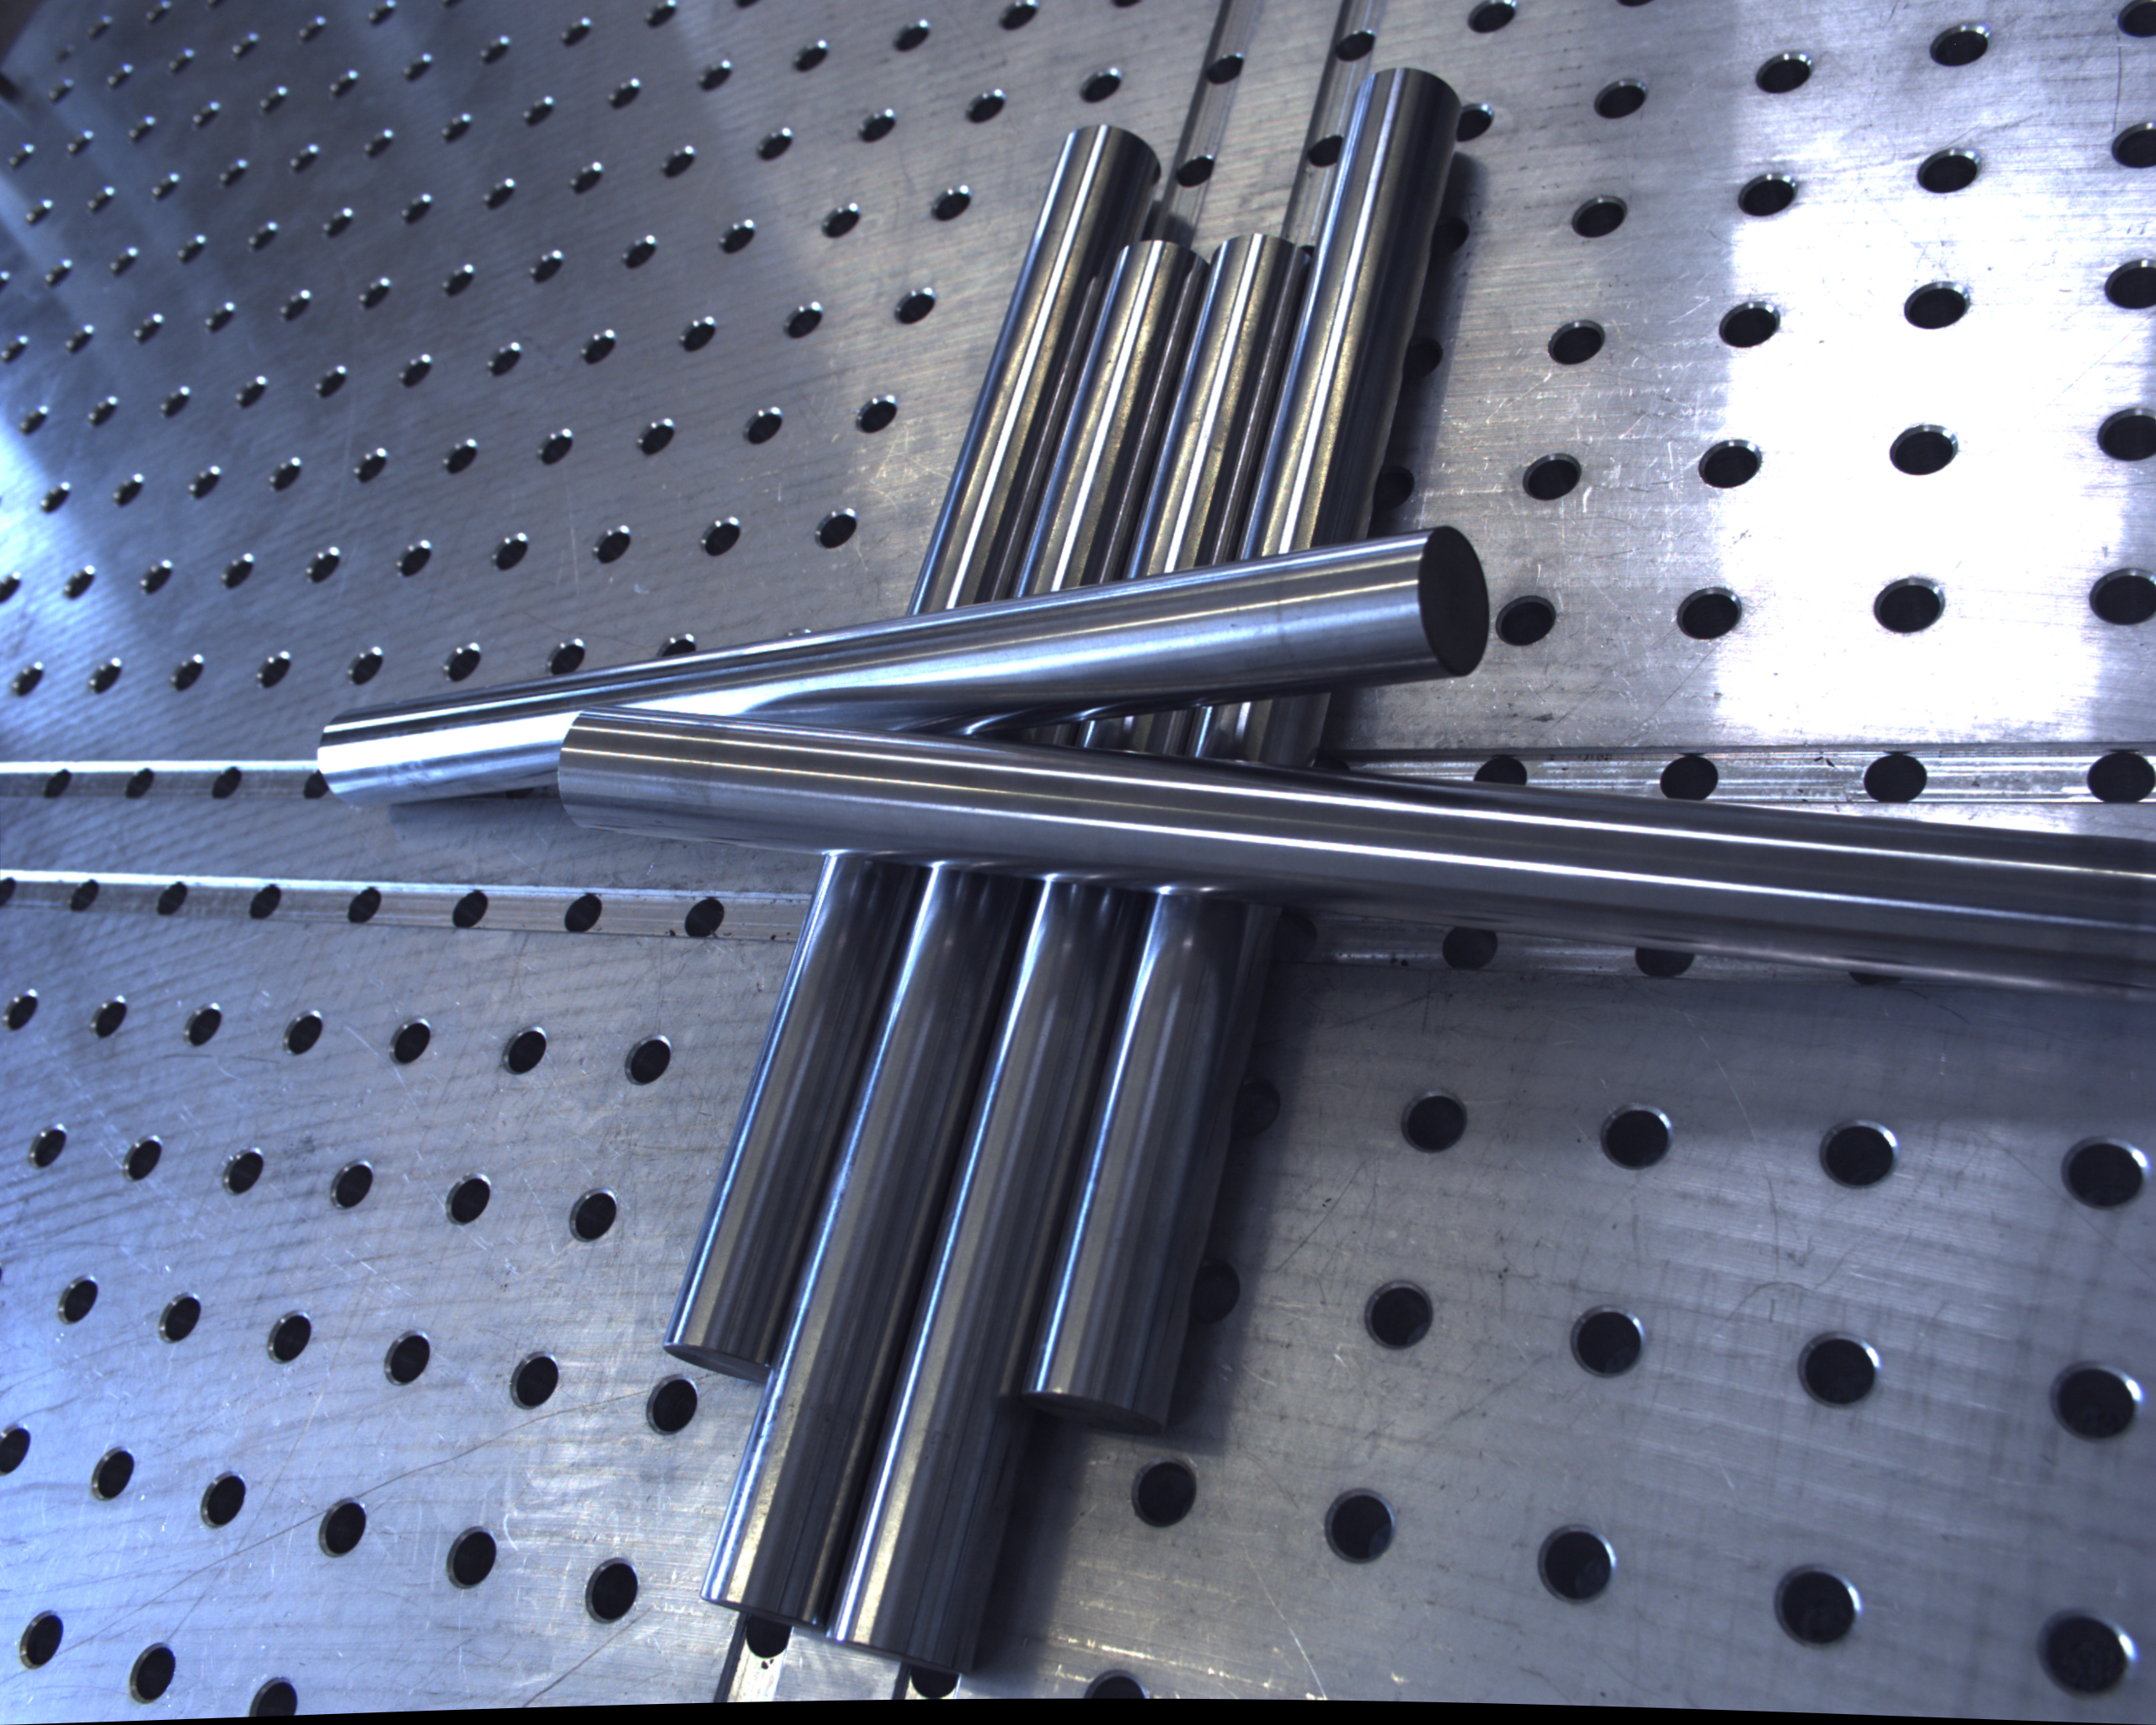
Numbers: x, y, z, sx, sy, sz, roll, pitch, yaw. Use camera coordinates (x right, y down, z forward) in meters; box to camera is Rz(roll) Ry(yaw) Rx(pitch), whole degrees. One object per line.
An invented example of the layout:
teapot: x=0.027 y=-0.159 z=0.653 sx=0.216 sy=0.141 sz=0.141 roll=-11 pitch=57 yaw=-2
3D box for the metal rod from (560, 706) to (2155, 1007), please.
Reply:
metal rod: x=0.044 y=-0.004 z=0.362 sx=0.301 sy=0.025 sz=0.025 roll=6 pitch=65 yaw=21

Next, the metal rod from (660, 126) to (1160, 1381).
metal rod: x=-0.029 y=-0.039 z=0.447 sx=0.025 sy=0.025 sz=0.300 roll=1 pitch=62 yaw=29

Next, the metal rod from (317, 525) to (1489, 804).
metal rod: x=-0.058 y=-0.035 z=0.432 sx=0.300 sy=0.025 sz=0.025 roll=-4 pitch=60 yaw=36

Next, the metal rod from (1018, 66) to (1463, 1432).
metal rod: x=0.039 y=-0.040 z=0.412 sx=0.025 sy=0.025 sz=0.300 roll=1 pitch=62 yaw=29

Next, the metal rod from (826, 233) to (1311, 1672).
metal rod: x=0.007 y=-0.001 z=0.407 sx=0.025 sy=0.025 sz=0.300 roll=1 pitch=62 yaw=29

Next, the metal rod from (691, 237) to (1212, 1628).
metal rod: x=-0.017 y=-0.003 z=0.419 sx=0.025 sy=0.025 sz=0.300 roll=2 pitch=62 yaw=29
